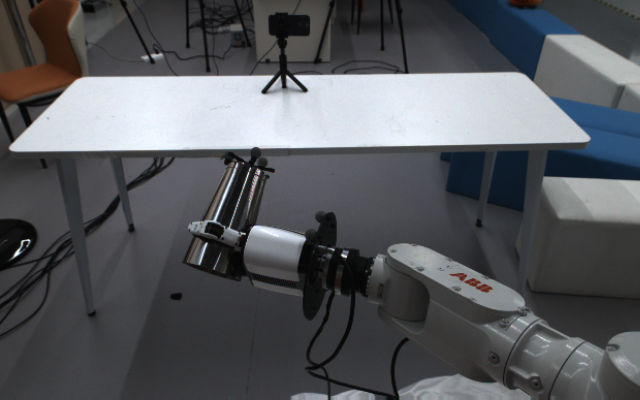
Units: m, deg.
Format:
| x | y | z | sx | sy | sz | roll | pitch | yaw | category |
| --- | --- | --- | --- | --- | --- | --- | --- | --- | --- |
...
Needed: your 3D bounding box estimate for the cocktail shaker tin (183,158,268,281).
| x | y | z | sx | sy | sz | roll | pitch | yaw | category |
| --- | --- | --- | --- | --- | --- | --- | --- | --- | --- |
| -0.142 | 0.031 | 0.748 | 0.093 | 0.093 | 0.170 | 13 | 73 | 15 | cocktail shaker tin |
